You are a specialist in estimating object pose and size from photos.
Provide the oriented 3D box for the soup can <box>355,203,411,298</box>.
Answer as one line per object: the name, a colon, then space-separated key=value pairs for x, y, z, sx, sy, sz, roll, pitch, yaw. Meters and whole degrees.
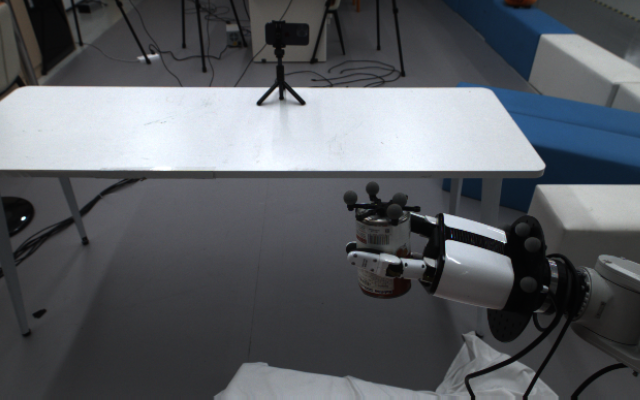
soup can: x=0.081 y=0.060 z=0.599 sx=0.067 sy=0.101 sz=0.067 roll=-4 pitch=21 yaw=1
